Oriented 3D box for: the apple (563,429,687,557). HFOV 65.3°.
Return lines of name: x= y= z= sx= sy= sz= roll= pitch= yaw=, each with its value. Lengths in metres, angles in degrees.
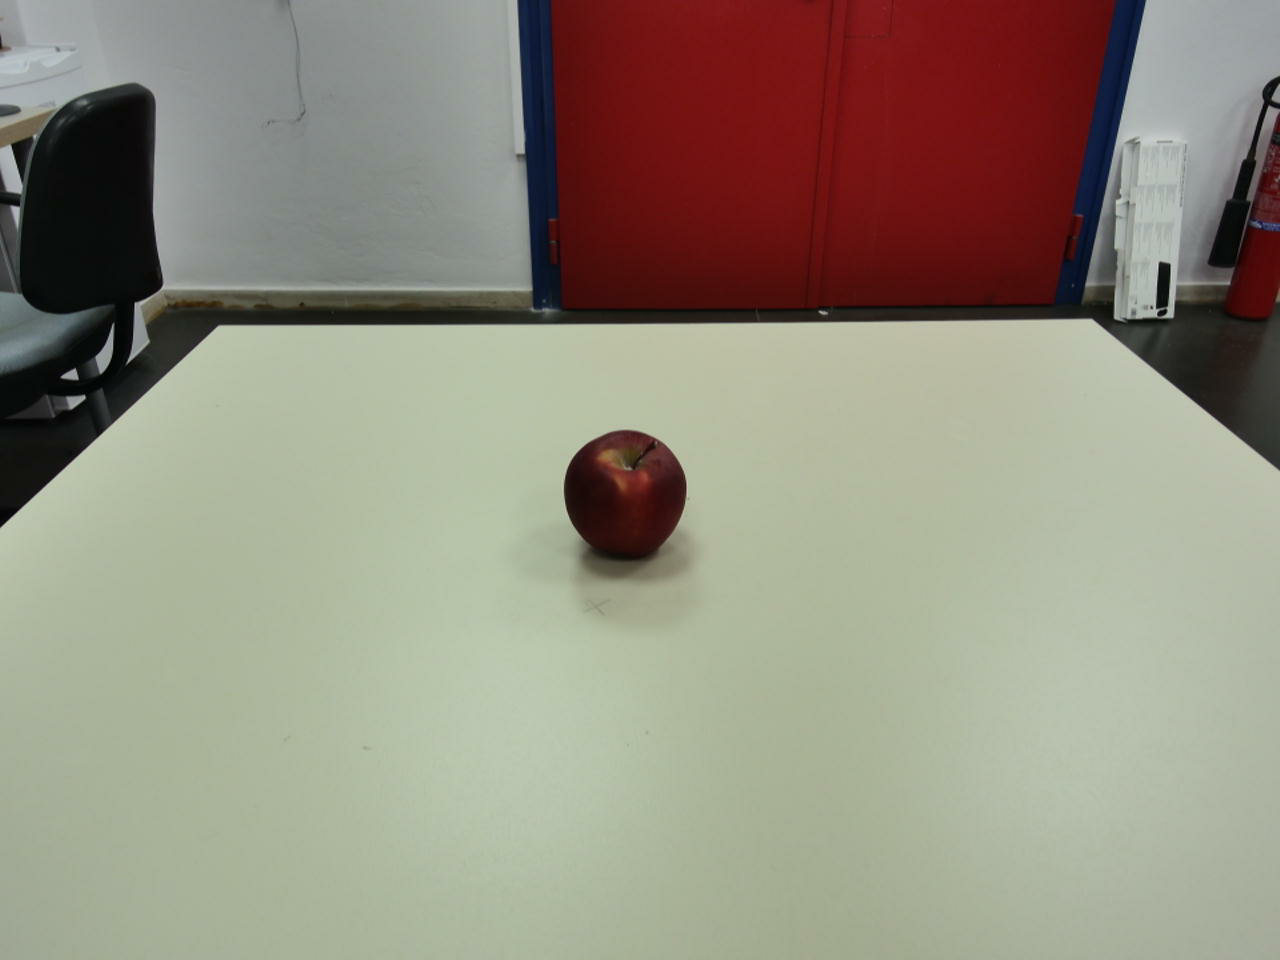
apple: x=-0.008 y=0.008 z=0.562 sx=0.070 sy=0.072 sz=0.070 roll=1 pitch=26 yaw=0
